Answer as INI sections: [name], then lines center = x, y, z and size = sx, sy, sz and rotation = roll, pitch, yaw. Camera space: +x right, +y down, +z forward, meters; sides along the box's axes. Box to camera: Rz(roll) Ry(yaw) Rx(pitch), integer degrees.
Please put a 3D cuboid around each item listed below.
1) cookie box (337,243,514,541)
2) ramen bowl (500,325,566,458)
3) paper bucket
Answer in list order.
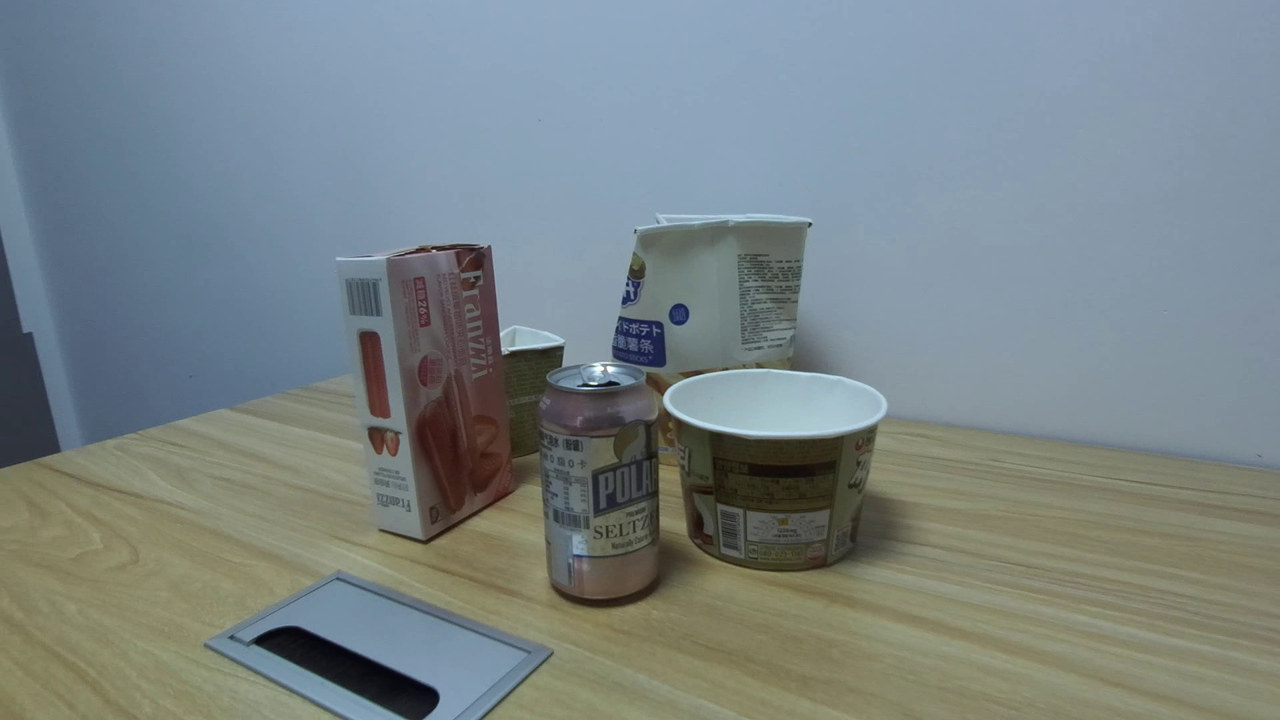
[cookie box]
center = -0.138, 0.015, 0.490
size = 0.048, 0.187, 0.105
rotation = 5, 16, 29
[ramen bowl]
center = -0.139, 0.028, 0.639
size = 0.129, 0.093, 0.111
rotation = -12, 18, -37
[paper bucket]
center = 0.046, -0.028, 0.625
size = 0.169, 0.202, 0.162
rotation = -4, 13, -21
